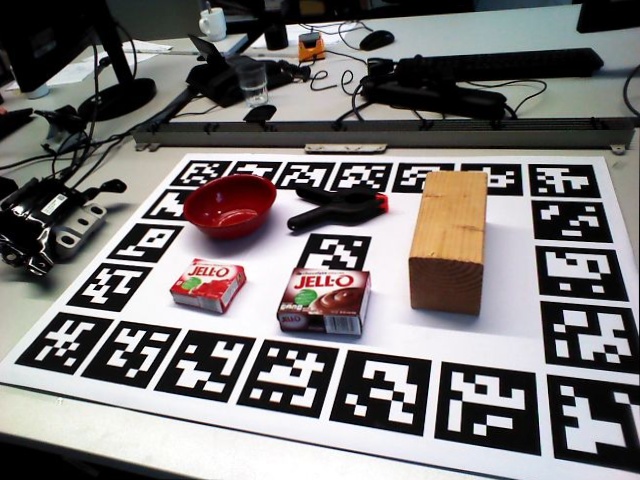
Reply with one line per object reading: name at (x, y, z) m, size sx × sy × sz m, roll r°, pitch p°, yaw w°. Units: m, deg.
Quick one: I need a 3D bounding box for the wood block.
wood block at (0.210, -0.001, 0.702) m, size 0.090 × 0.091 × 0.204 m, roll 5°, pitch 41°, yaw 19°

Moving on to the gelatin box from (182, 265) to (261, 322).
gelatin box at (-0.142, 0.075, 0.750) m, size 0.090 × 0.030 × 0.073 m, roll 8°, pitch 43°, yaw 24°

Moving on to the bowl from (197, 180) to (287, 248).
bowl at (-0.123, -0.036, 0.880) m, size 0.162 × 0.055 × 0.161 m, roll -7°, pitch 40°, yaw 6°

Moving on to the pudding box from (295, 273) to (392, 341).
pudding box at (0.033, 0.087, 0.682) m, size 0.114 × 0.039 × 0.089 m, roll 0°, pitch 43°, yaw 19°

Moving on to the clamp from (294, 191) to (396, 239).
clamp at (0.044, -0.048, 0.868) m, size 0.166 × 0.037 × 0.121 m, roll -3°, pitch 38°, yaw 8°
